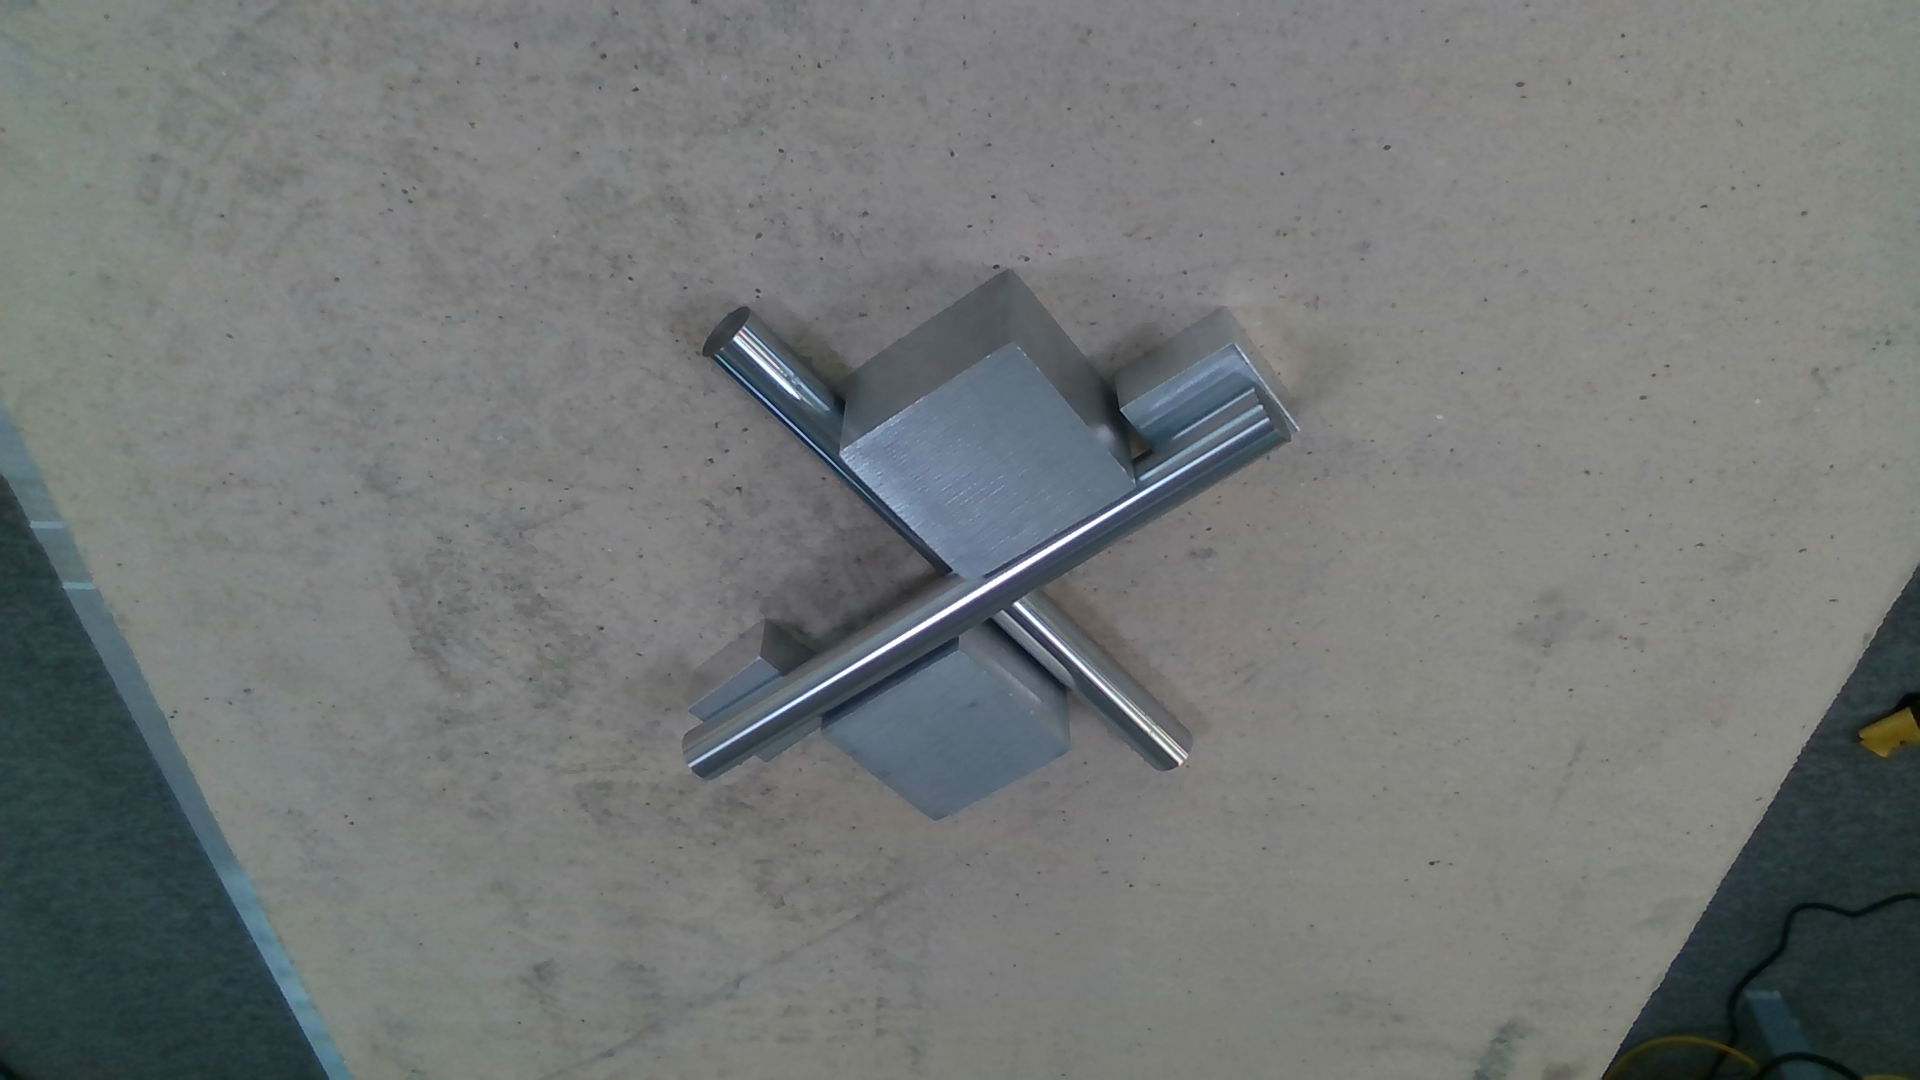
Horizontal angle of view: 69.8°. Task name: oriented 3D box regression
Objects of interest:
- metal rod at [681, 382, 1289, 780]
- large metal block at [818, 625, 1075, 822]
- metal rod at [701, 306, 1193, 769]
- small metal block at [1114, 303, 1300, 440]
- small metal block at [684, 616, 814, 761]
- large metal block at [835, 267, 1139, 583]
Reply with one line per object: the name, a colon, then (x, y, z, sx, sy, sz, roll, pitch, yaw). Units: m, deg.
metal rod: (-0.002, 0.025, 0.568, 0.300, 0.025, 0.025, -32, 123, 24)
large metal block: (-0.006, 0.072, 0.624, 0.080, 0.050, 0.080, -32, 123, 24)
metal rod: (0.007, 0.010, 0.590, 0.025, 0.025, 0.301, -32, 123, 24)
small metal block: (0.095, -0.055, 0.535, 0.050, 0.025, 0.050, -30, 124, 23)
small metal block: (-0.091, 0.069, 0.639, 0.050, 0.025, 0.050, -36, 122, 26)
large metal block: (0.011, -0.042, 0.526, 0.080, 0.050, 0.080, -30, 124, 23)
